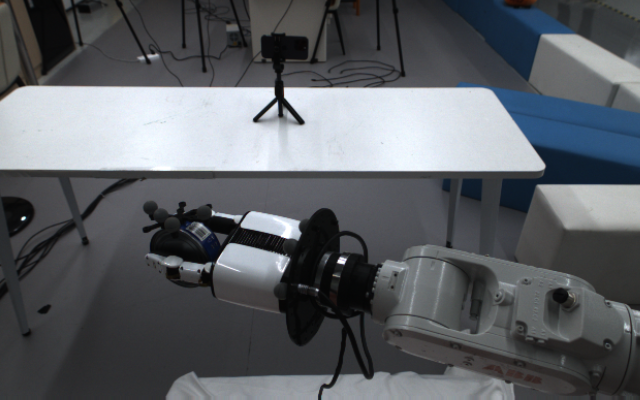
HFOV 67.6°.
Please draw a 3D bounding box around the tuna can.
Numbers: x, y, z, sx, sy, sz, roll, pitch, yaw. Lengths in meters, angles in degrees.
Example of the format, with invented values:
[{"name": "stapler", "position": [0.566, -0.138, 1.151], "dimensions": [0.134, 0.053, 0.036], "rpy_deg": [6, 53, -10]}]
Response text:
[{"name": "tuna can", "position": [-0.165, 0.065, 0.605], "dimensions": [0.085, 0.085, 0.034], "rpy_deg": [14, 29, 17]}]
